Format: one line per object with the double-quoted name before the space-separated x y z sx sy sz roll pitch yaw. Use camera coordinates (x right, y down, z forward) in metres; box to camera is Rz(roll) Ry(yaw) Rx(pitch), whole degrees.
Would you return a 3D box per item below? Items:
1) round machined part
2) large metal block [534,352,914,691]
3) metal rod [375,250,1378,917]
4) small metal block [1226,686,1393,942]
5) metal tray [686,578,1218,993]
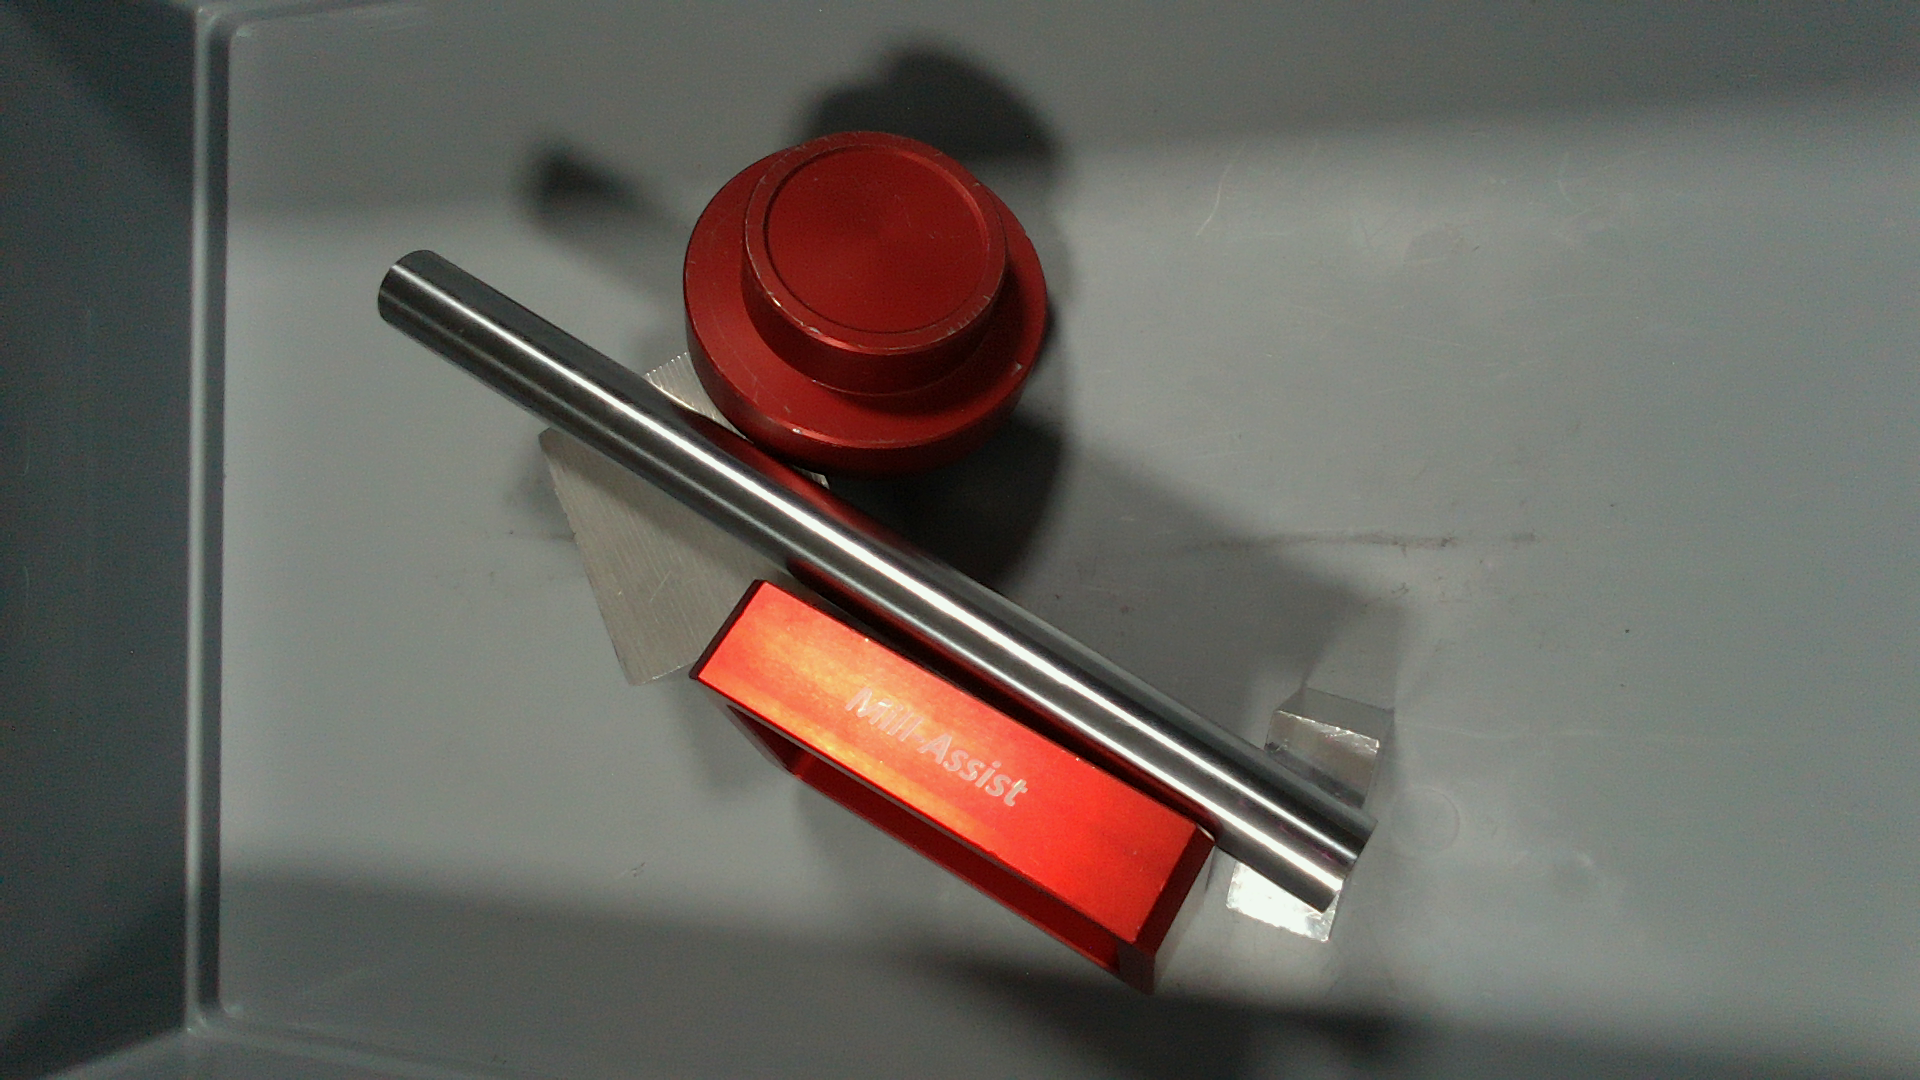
"round machined part" -0.024 -0.069 0.367 0.098 0.042 0.098 4 65 -9
"large metal block" -0.066 -0.010 0.405 0.080 0.050 0.080 -24 82 18
"metal rod" -0.035 0.001 0.353 0.299 0.025 0.025 31 100 17
"small metal block" 0.090 0.067 0.349 0.025 0.050 0.050 15 95 19
"metal tray" 0.000 0.066 0.357 0.130 0.090 0.030 28 72 17
